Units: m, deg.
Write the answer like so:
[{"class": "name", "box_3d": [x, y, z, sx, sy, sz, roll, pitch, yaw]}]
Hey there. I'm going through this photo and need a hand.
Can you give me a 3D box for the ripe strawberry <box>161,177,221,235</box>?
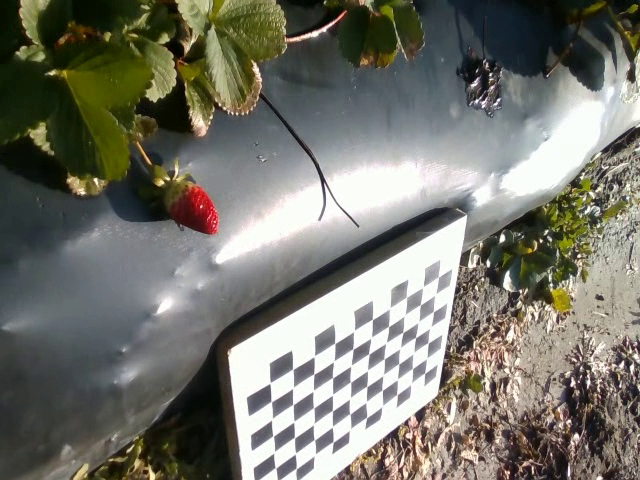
[{"class": "ripe strawberry", "box_3d": [-0.069, -0.015, 0.347, 0.028, 0.041, 0.031, -45, -6, -12]}]
